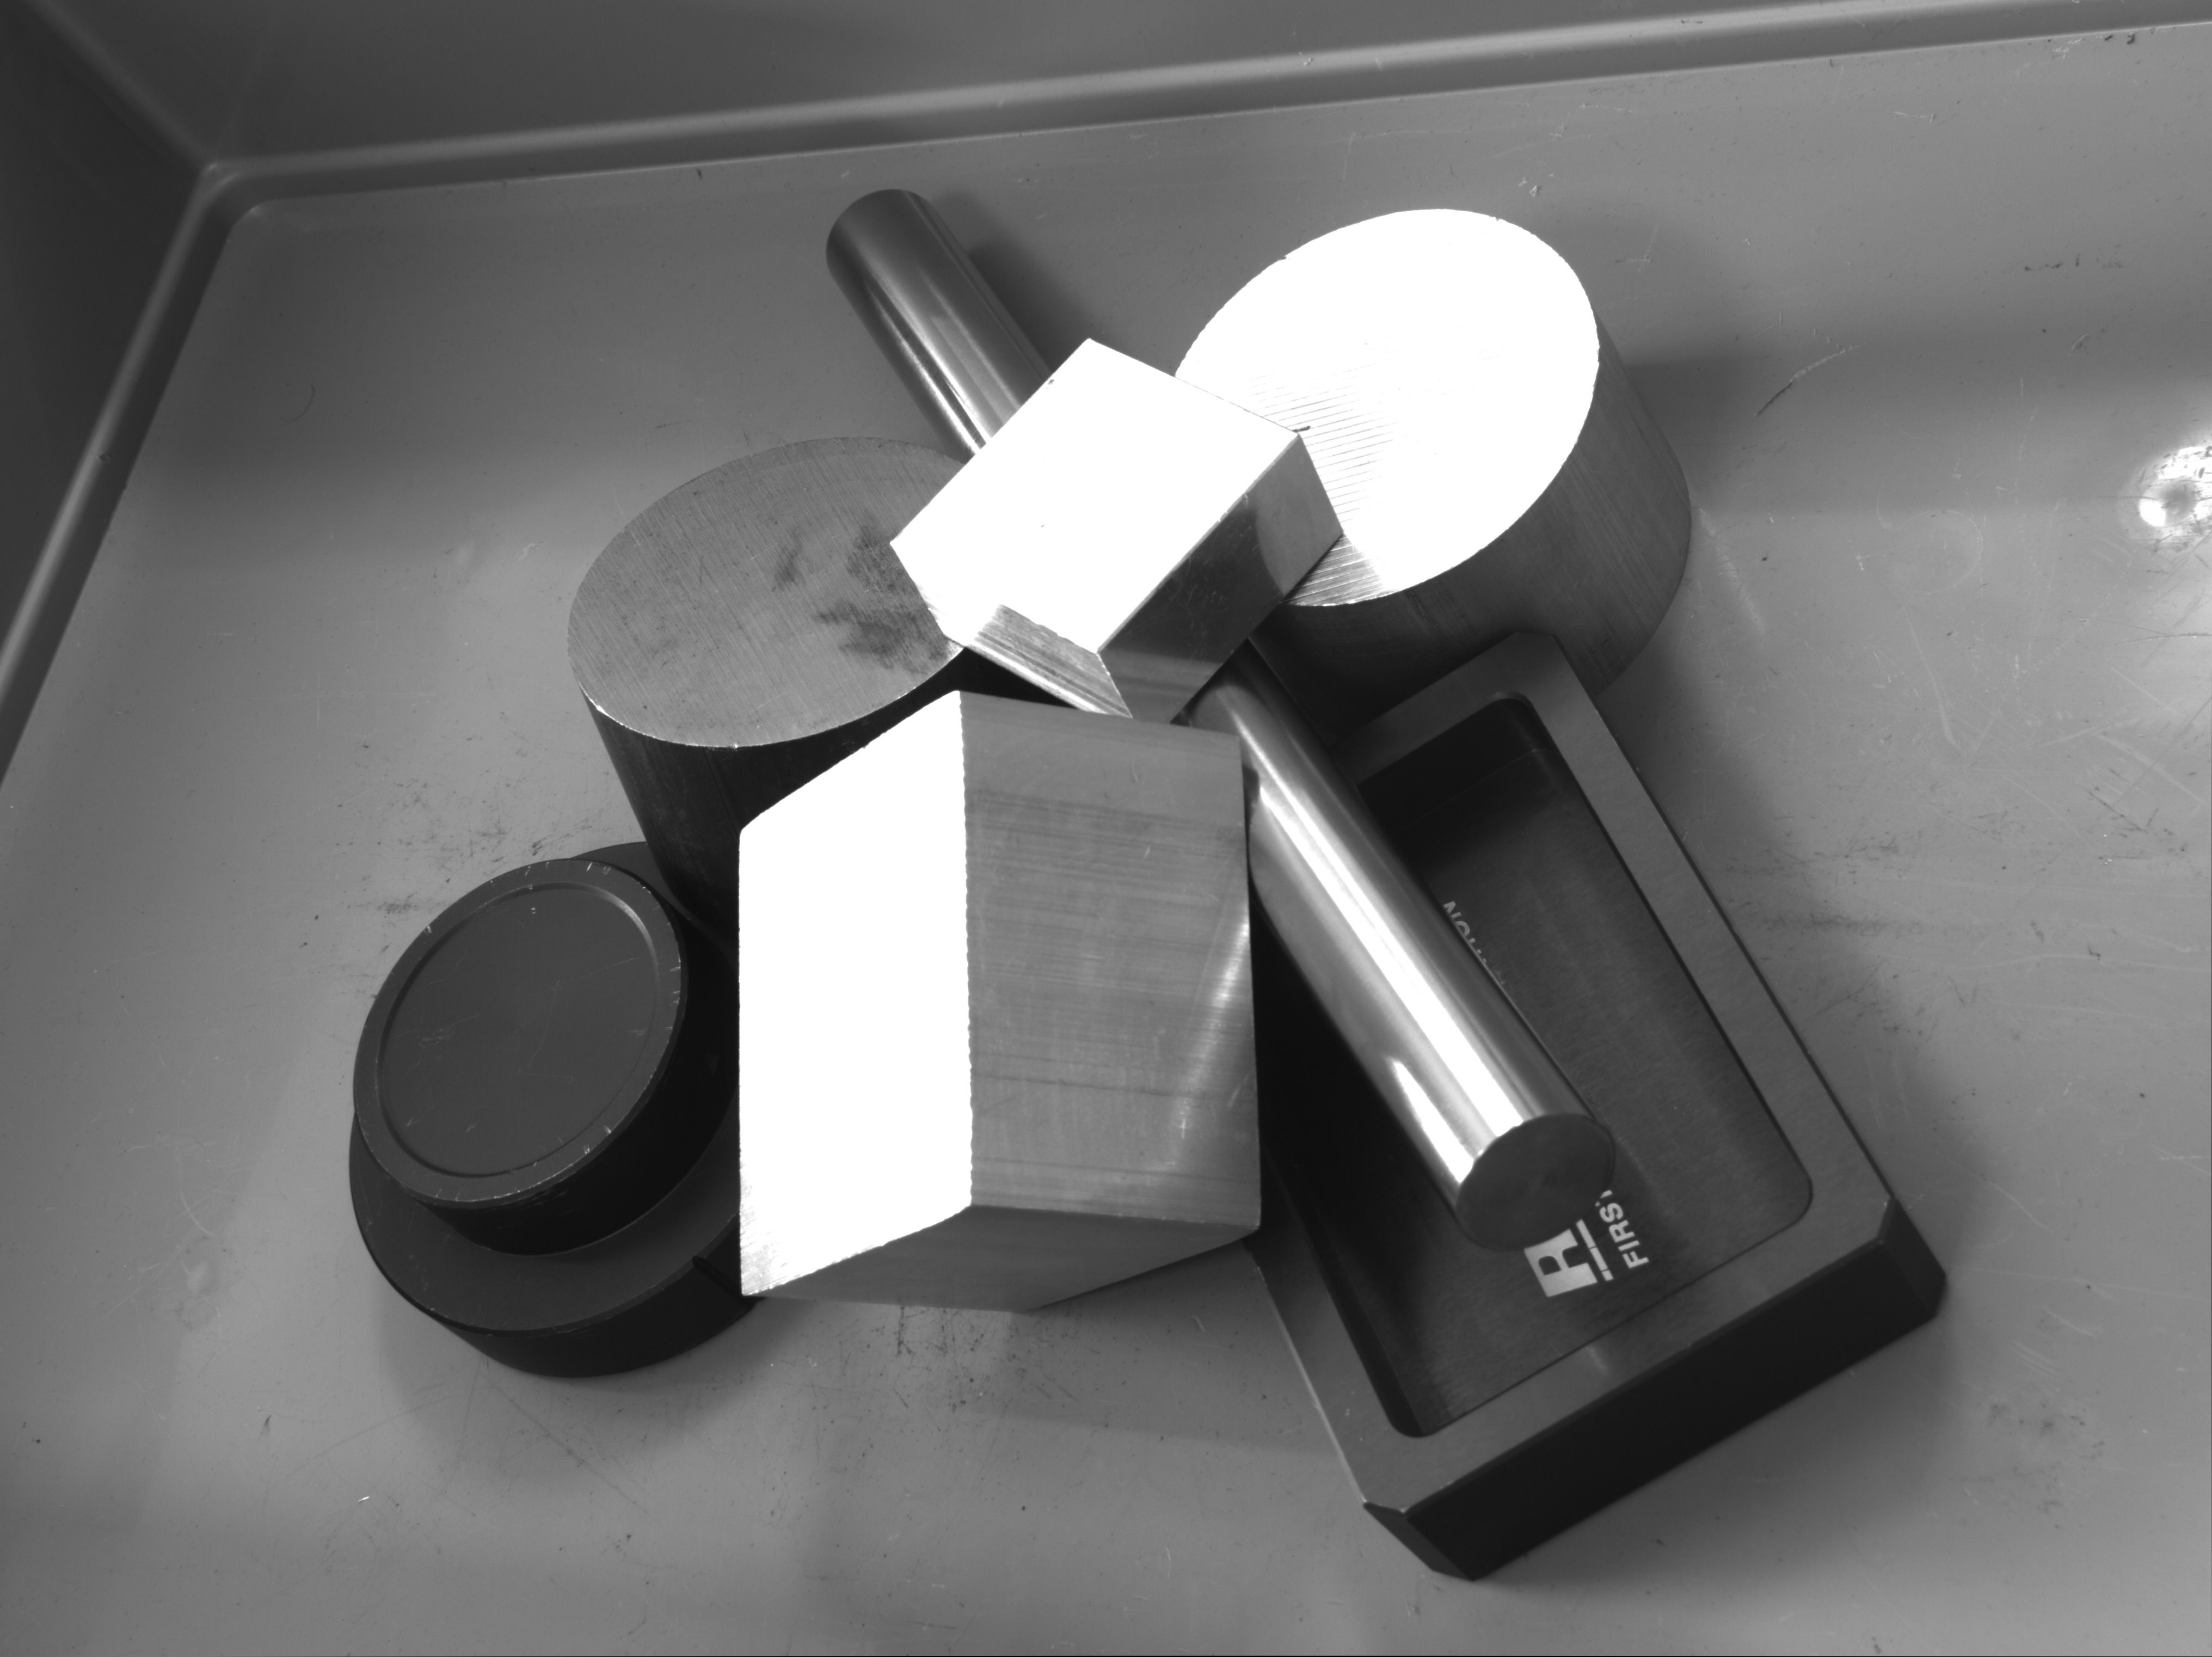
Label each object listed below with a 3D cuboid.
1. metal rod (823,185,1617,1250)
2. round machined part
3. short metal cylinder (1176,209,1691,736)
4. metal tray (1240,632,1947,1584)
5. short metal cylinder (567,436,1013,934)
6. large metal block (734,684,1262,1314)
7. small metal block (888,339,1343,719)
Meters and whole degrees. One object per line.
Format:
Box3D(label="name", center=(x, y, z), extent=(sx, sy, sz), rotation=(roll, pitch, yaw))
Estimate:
Box3D(label="metal rod", center=(0.008, -0.034, 0.629), extent=(0.025, 0.025, 0.299), rotation=(-37, 41, 4))
Box3D(label="round machined part", center=(-0.095, 0.045, 0.656), extent=(0.098, 0.042, 0.098), rotation=(-14, 56, 21))
Box3D(label="short metal cylinder", center=(0.055, -0.059, 0.635), extent=(0.080, 0.050, 0.080), rotation=(-14, 56, 21))
Box3D(label="metal tray", center=(0.062, 0.041, 0.582), extent=(0.090, 0.030, 0.130), rotation=(-32, 51, 8))
Box3D(label="short metal cylinder", center=(-0.050, -0.025, 0.656), extent=(0.080, 0.050, 0.080), rotation=(-9, 44, 9))
Box3D(label="large metal block", center=(-0.020, 0.030, 0.586), extent=(0.080, 0.050, 0.080), rotation=(-28, 59, 55))
Box3D(label="small metal block", center=(0.002, -0.047, 0.604), extent=(0.050, 0.025, 0.050), rotation=(29, 70, 38))
